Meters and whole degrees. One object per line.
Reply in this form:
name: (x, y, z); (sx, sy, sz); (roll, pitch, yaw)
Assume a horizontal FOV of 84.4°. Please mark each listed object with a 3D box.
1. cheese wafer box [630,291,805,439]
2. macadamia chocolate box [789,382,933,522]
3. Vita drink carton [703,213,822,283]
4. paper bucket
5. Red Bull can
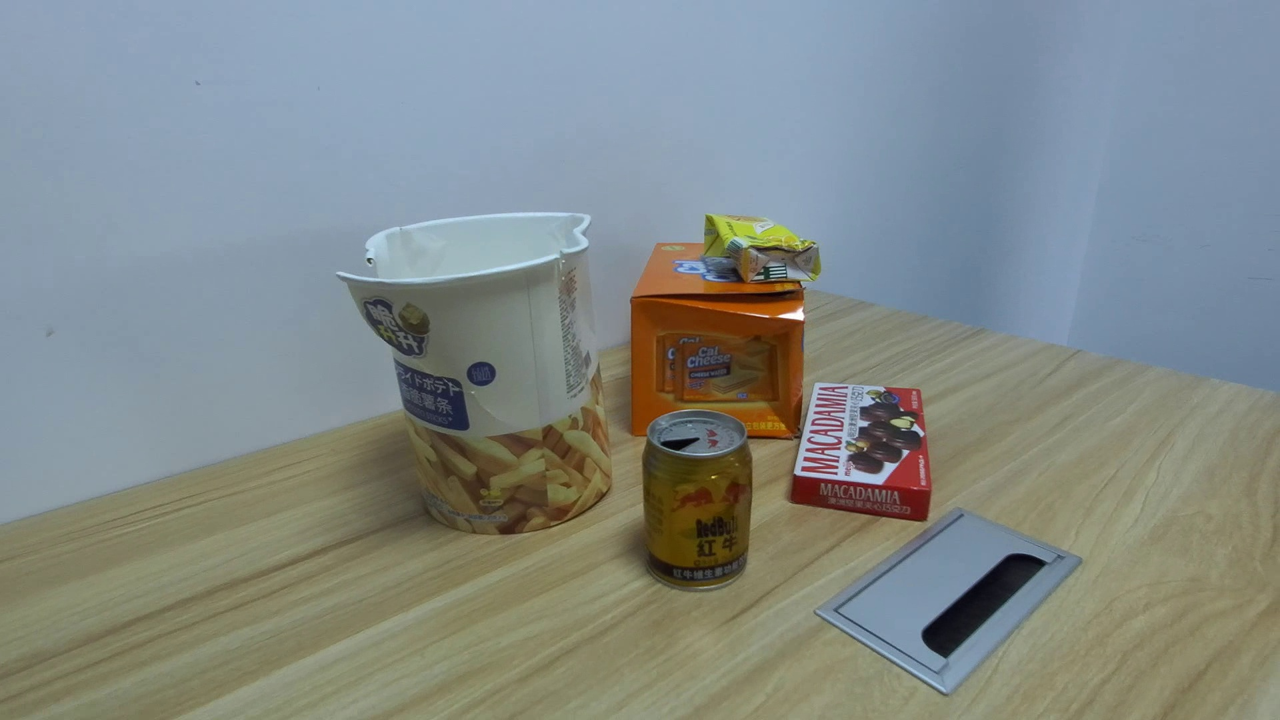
cheese wafer box: (0.076, -0.030, 0.682); (0.149, 0.137, 0.227); (3, 20, 7)
macadamia chocolate box: (0.179, 0.066, 0.570); (0.095, 0.027, 0.178); (5, 22, 18)
Vita drink carton: (0.105, -0.097, 0.630); (0.087, 0.042, 0.108); (2, 21, -17)
paper bucket: (-0.100, 0.006, 0.512); (0.146, 0.197, 0.202); (-6, 21, -5)
Red Bull can: (0.035, 0.084, 0.434); (0.068, 0.093, 0.068); (-2, 21, 1)
